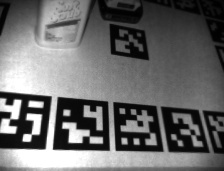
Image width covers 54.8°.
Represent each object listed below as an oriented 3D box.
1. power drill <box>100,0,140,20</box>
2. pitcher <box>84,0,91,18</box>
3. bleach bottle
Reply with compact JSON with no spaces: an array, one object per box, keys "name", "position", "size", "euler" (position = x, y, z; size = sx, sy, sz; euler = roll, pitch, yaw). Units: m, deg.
[{"name":"power drill","position":[0.064,-0.230,0.480],"size":[0.186,0.186,0.057],"euler":[0,66,-24]},{"name":"pitcher","position":[-0.093,-0.226,0.413],"size":[0.190,0.242,0.132],"euler":[-24,74,-27]},{"name":"bleach bottle","position":[-0.091,-0.145,0.348],"size":[0.103,0.250,0.067],"euler":[-5,65,-19]}]
